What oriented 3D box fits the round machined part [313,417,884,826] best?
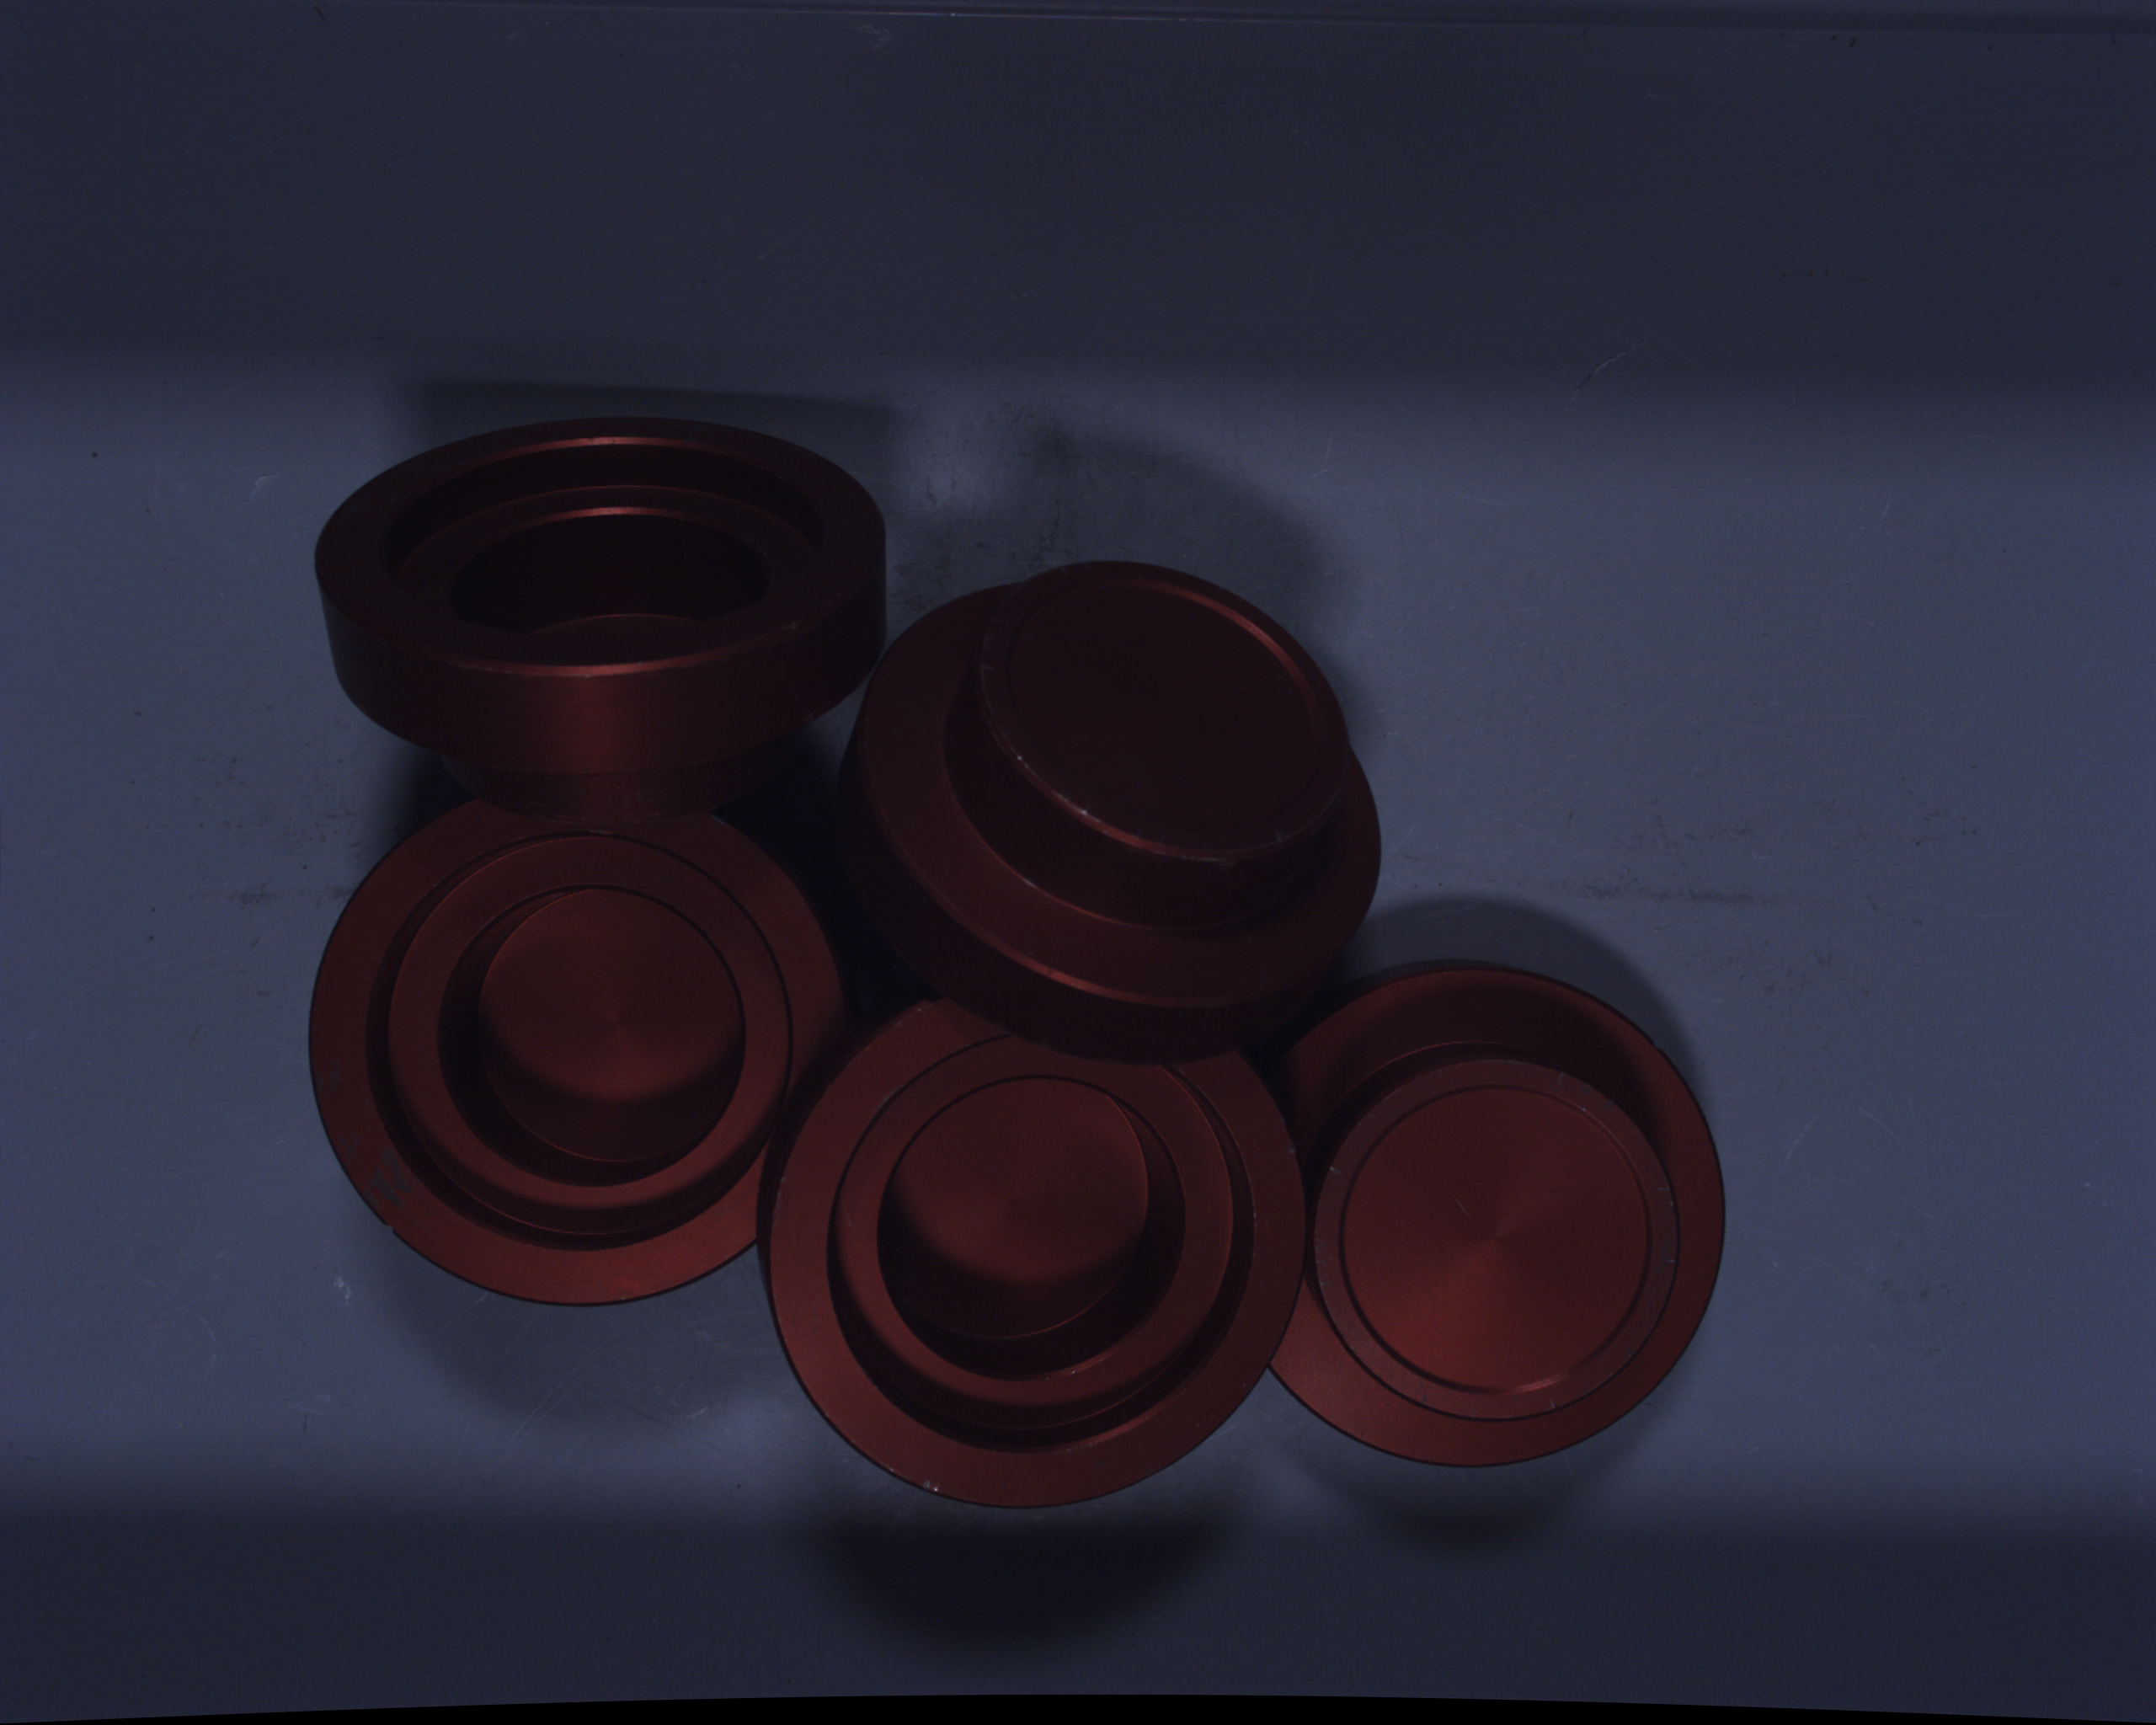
[{"bbox_3d":[-0.085,-0.043,0.382,0.099,0.098,0.042,3,126,-1],"label":"round machined part"}]

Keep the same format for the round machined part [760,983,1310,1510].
[{"bbox_3d":[-0.010,0.066,0.390,0.099,0.042,0.097,-2,96,-13],"label":"round machined part"}]

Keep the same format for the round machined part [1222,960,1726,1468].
[{"bbox_3d":[0.076,0.068,0.402,0.099,0.042,0.097,0,90,-1],"label":"round machined part"}]

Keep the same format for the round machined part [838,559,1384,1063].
[{"bbox_3d":[0.010,-0.016,0.374,0.099,0.042,0.098,11,49,-13],"label":"round machined part"}]

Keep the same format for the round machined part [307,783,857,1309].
[{"bbox_3d":[-0.091,0.032,0.399,0.099,0.042,0.097,0,90,-1],"label":"round machined part"}]
